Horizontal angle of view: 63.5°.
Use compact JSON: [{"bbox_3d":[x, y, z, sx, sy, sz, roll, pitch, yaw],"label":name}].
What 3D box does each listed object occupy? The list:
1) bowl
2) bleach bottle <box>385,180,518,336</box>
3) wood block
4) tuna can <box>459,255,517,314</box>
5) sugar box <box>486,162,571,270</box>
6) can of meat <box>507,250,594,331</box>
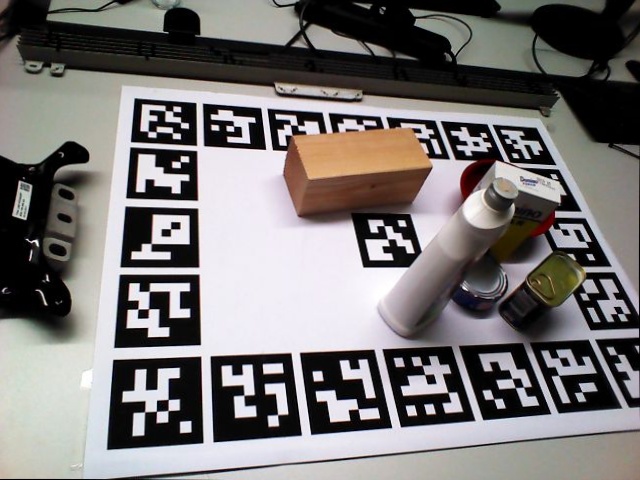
[{"bbox_3d":[0.316,-0.057,0.844,0.162,0.055,0.160,5,54,-7],"label":"bowl"},{"bbox_3d":[0.163,0.020,0.625,0.102,0.252,0.068,-23,62,-28],"label":"bleach bottle"},{"bbox_3d":[0.062,-0.105,0.796,0.206,0.090,0.090,-7,61,-20],"label":"wood block"},{"bbox_3d":[0.235,0.063,0.745,0.086,0.034,0.085,6,56,-10],"label":"tuna can"},{"bbox_3d":[0.263,-0.028,0.729,0.093,0.177,0.045,16,54,1],"label":"sugar box"},{"bbox_3d":[0.325,0.074,0.737,0.101,0.084,0.058,-27,62,-31],"label":"can of meat"}]
